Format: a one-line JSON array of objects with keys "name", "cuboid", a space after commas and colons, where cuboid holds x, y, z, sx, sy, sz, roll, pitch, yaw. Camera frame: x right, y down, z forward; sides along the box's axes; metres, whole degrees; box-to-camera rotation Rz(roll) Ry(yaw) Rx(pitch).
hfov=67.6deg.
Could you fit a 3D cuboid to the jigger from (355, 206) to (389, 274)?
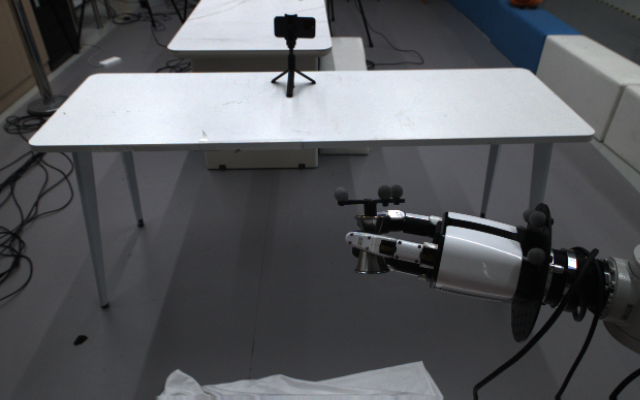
[{"name": "jigger", "cuboid": [0.062, 0.052, 0.590, 0.043, 0.071, 0.043, -2, 3, 0]}]
